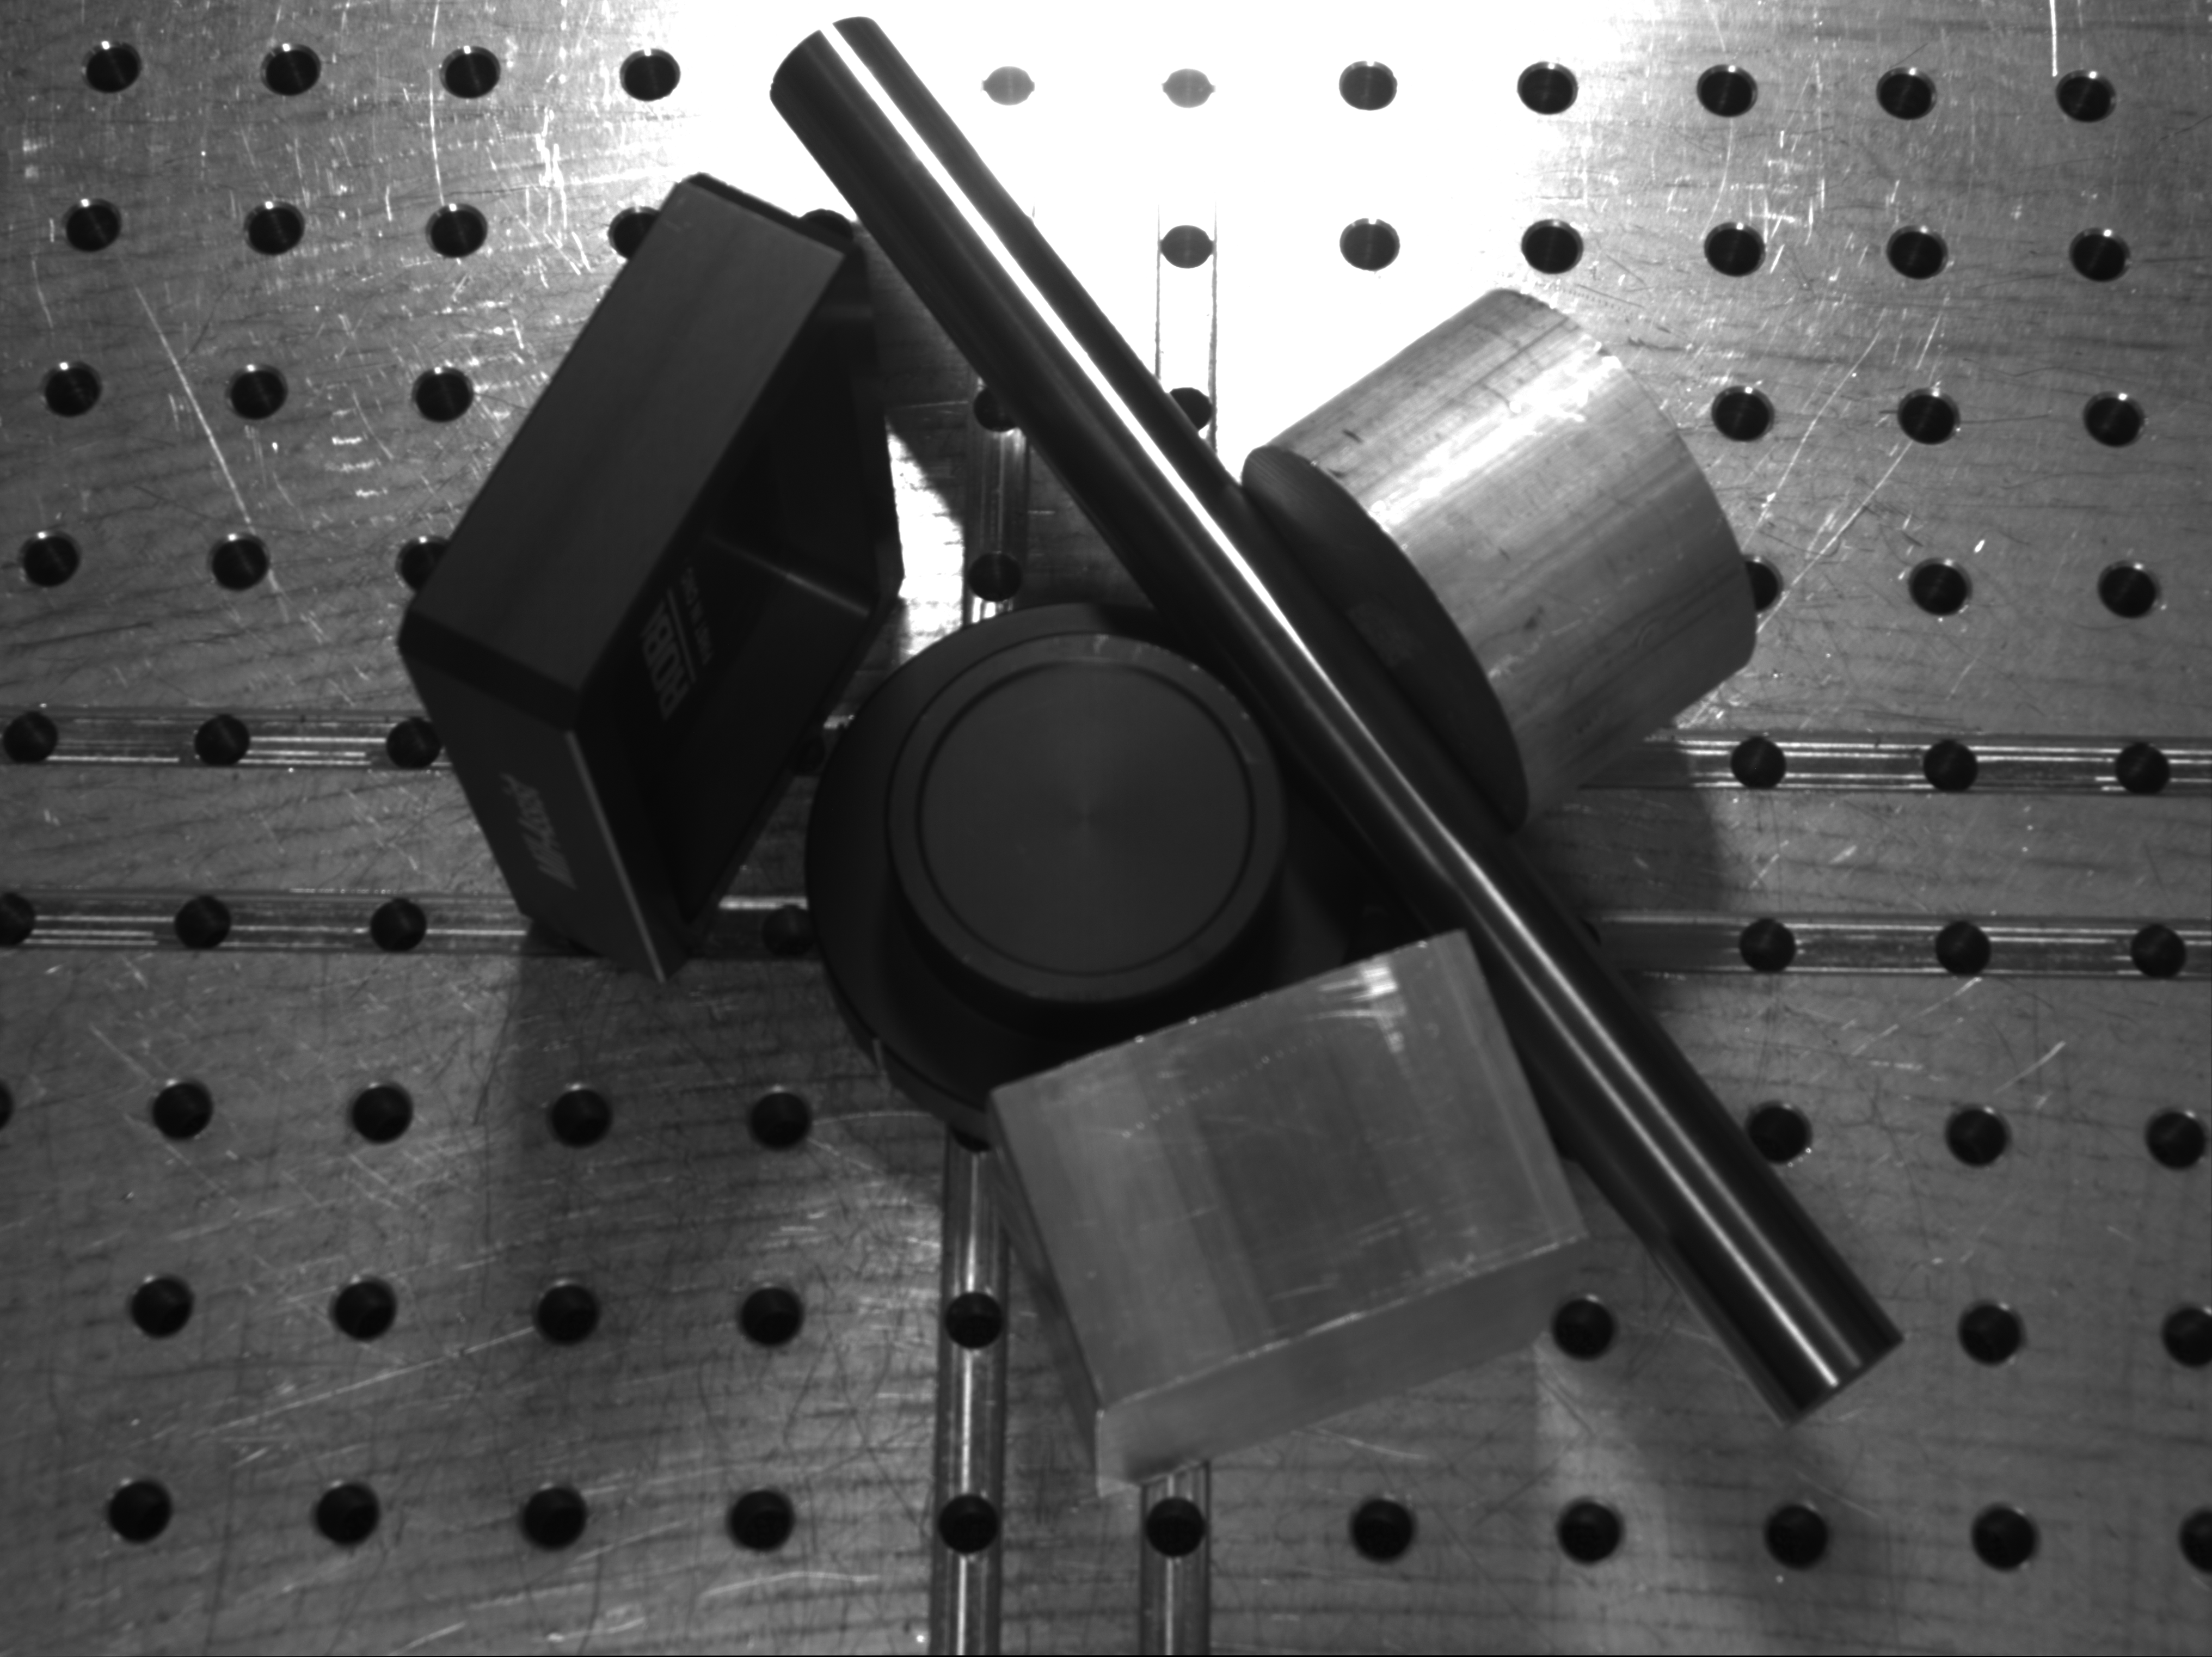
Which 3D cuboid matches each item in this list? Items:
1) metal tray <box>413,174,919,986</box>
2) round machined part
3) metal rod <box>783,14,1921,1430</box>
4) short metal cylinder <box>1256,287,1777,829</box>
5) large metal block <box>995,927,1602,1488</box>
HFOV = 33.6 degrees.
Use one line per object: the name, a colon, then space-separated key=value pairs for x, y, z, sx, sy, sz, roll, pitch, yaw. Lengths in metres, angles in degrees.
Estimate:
metal tray: x=-0.068 y=-0.037 z=0.605 sx=0.030 sy=0.130 sz=0.090 roll=26 pitch=72 yaw=9
round machined part: x=-0.001 y=0.006 z=0.636 sx=0.098 sy=0.042 sz=0.098 roll=0 pitch=70 yaw=0
metal rod: x=0.036 y=-0.026 z=0.634 sx=0.025 sy=0.025 sz=0.300 roll=-33 pitch=73 yaw=-11
short metal cylinder: x=0.070 y=-0.046 z=0.634 sx=0.050 sy=0.080 sz=0.080 roll=-35 pitch=74 yaw=-12
large metal block: x=0.029 y=0.064 z=0.595 sx=0.080 sy=0.080 sz=0.050 roll=-18 pitch=71 yaw=-6
